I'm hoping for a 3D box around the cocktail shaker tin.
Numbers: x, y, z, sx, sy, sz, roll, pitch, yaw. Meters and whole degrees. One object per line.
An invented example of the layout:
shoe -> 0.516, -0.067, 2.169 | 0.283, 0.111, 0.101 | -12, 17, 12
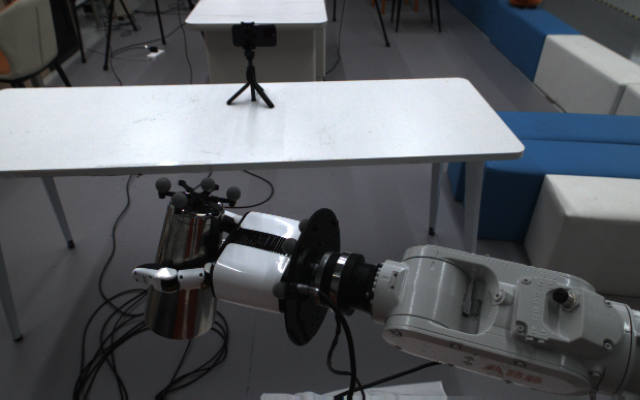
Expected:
cocktail shaker tin -> -0.164, 0.077, 0.609 | 0.093, 0.170, 0.093 | 12, 24, -5
